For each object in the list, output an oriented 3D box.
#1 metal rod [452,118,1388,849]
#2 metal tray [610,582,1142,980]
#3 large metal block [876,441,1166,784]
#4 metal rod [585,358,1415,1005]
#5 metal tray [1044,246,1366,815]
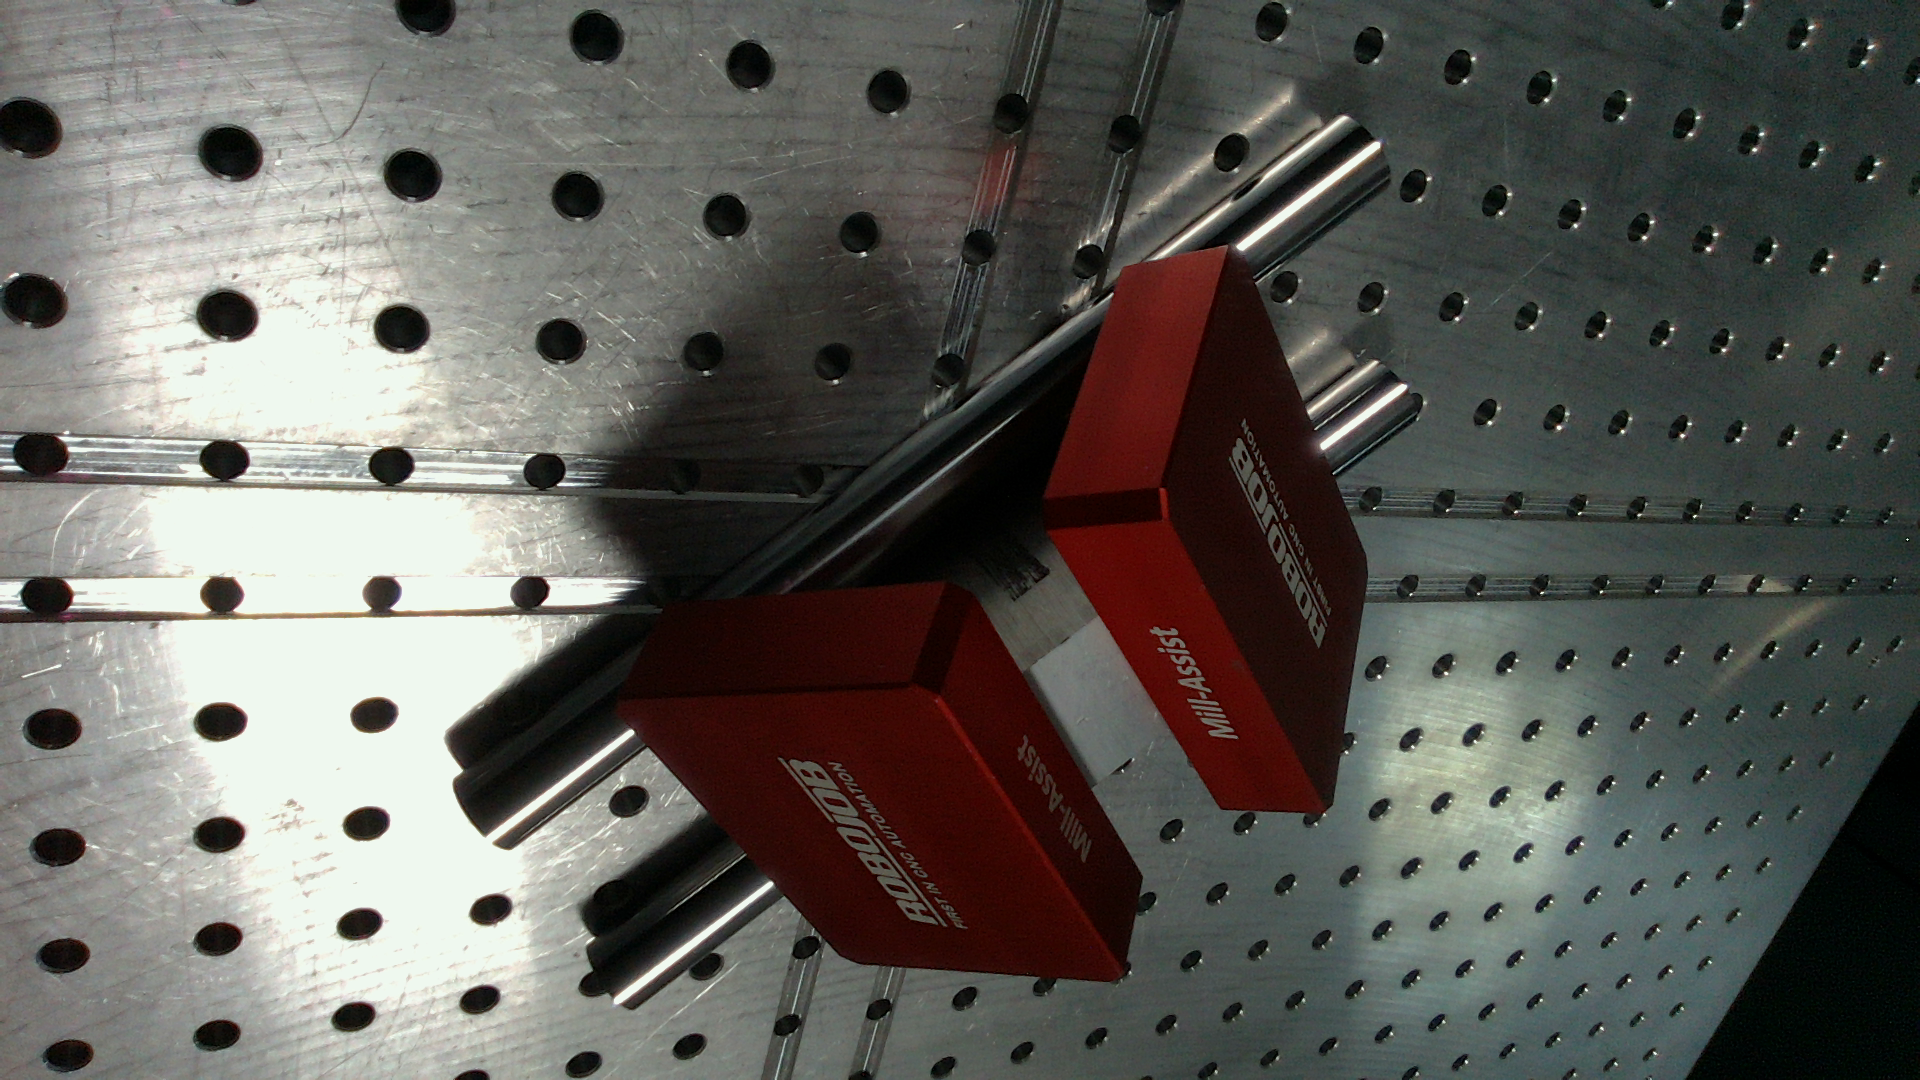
[{"bbox_3d":[-0.008,-0.018,0.377,0.300,0.025,0.025,-37,129,-4],"label":"metal rod"},{"bbox_3d":[-0.017,0.067,0.354,0.090,0.030,0.130,-5,135,28],"label":"metal tray"},{"bbox_3d":[0.022,0.020,0.380,0.080,0.080,0.050,-36,129,-4],"label":"large metal block"},{"bbox_3d":[0.015,0.041,0.426,0.300,0.025,0.025,-36,129,-4],"label":"metal rod"},{"bbox_3d":[0.071,0.001,0.361,0.130,0.030,0.090,56,42,-39],"label":"metal tray"}]
